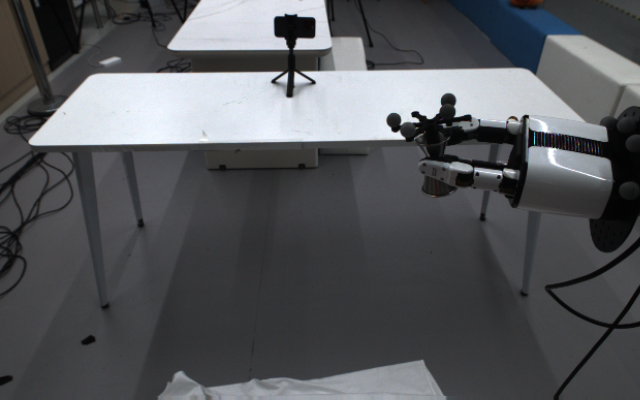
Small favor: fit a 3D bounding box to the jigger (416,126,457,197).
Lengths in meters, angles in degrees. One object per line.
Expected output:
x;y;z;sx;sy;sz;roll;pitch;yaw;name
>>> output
0.138;-0.043;0.573;0.043;0.071;0.043;-12;29;7;jigger
